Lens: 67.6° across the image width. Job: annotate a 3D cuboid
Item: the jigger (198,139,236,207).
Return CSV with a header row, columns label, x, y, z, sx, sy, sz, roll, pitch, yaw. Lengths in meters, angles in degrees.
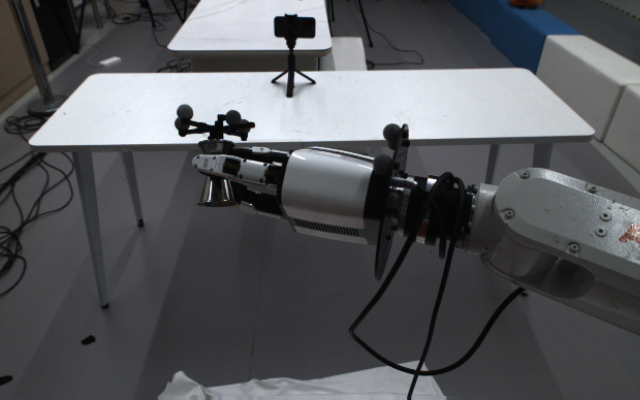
label,x,y,z,sx,sy,sz,roll,pitch,yaw
jigger,-0.112,-0.029,0.530,0.043,0.071,0.043,-2,-7,0
